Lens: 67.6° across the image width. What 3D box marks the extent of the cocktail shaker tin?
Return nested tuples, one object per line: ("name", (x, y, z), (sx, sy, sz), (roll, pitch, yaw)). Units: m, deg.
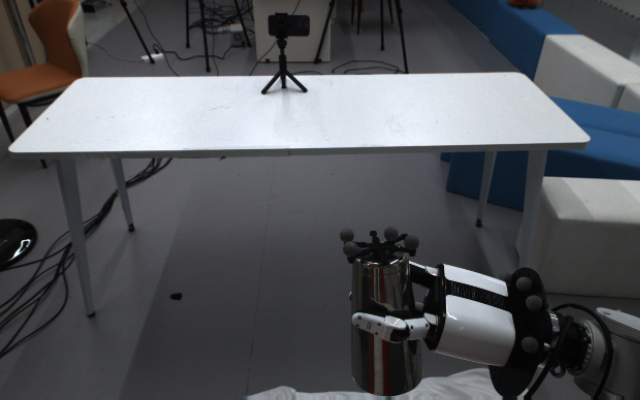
("cocktail shaker tin", (0.079, 0.142, 0.598), (0.093, 0.170, 0.093), (-6, 19, 2))
